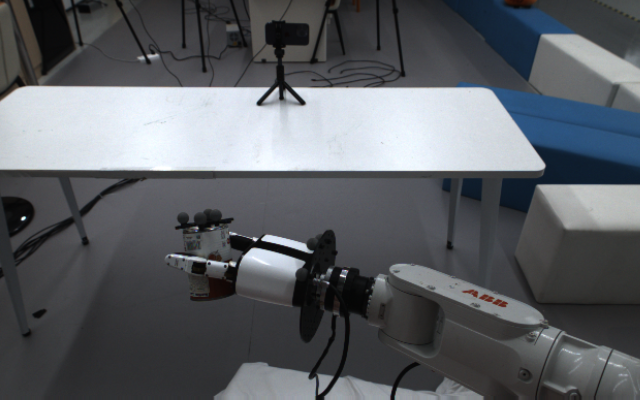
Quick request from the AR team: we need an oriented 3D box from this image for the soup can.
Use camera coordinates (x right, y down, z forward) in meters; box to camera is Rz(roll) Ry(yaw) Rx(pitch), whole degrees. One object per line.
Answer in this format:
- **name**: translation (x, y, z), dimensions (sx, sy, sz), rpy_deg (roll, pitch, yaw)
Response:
- **soup can**: translation (-0.159, 0.091, 0.705), dimensions (0.067, 0.101, 0.067), rpy_deg (-7, 3, 0)
